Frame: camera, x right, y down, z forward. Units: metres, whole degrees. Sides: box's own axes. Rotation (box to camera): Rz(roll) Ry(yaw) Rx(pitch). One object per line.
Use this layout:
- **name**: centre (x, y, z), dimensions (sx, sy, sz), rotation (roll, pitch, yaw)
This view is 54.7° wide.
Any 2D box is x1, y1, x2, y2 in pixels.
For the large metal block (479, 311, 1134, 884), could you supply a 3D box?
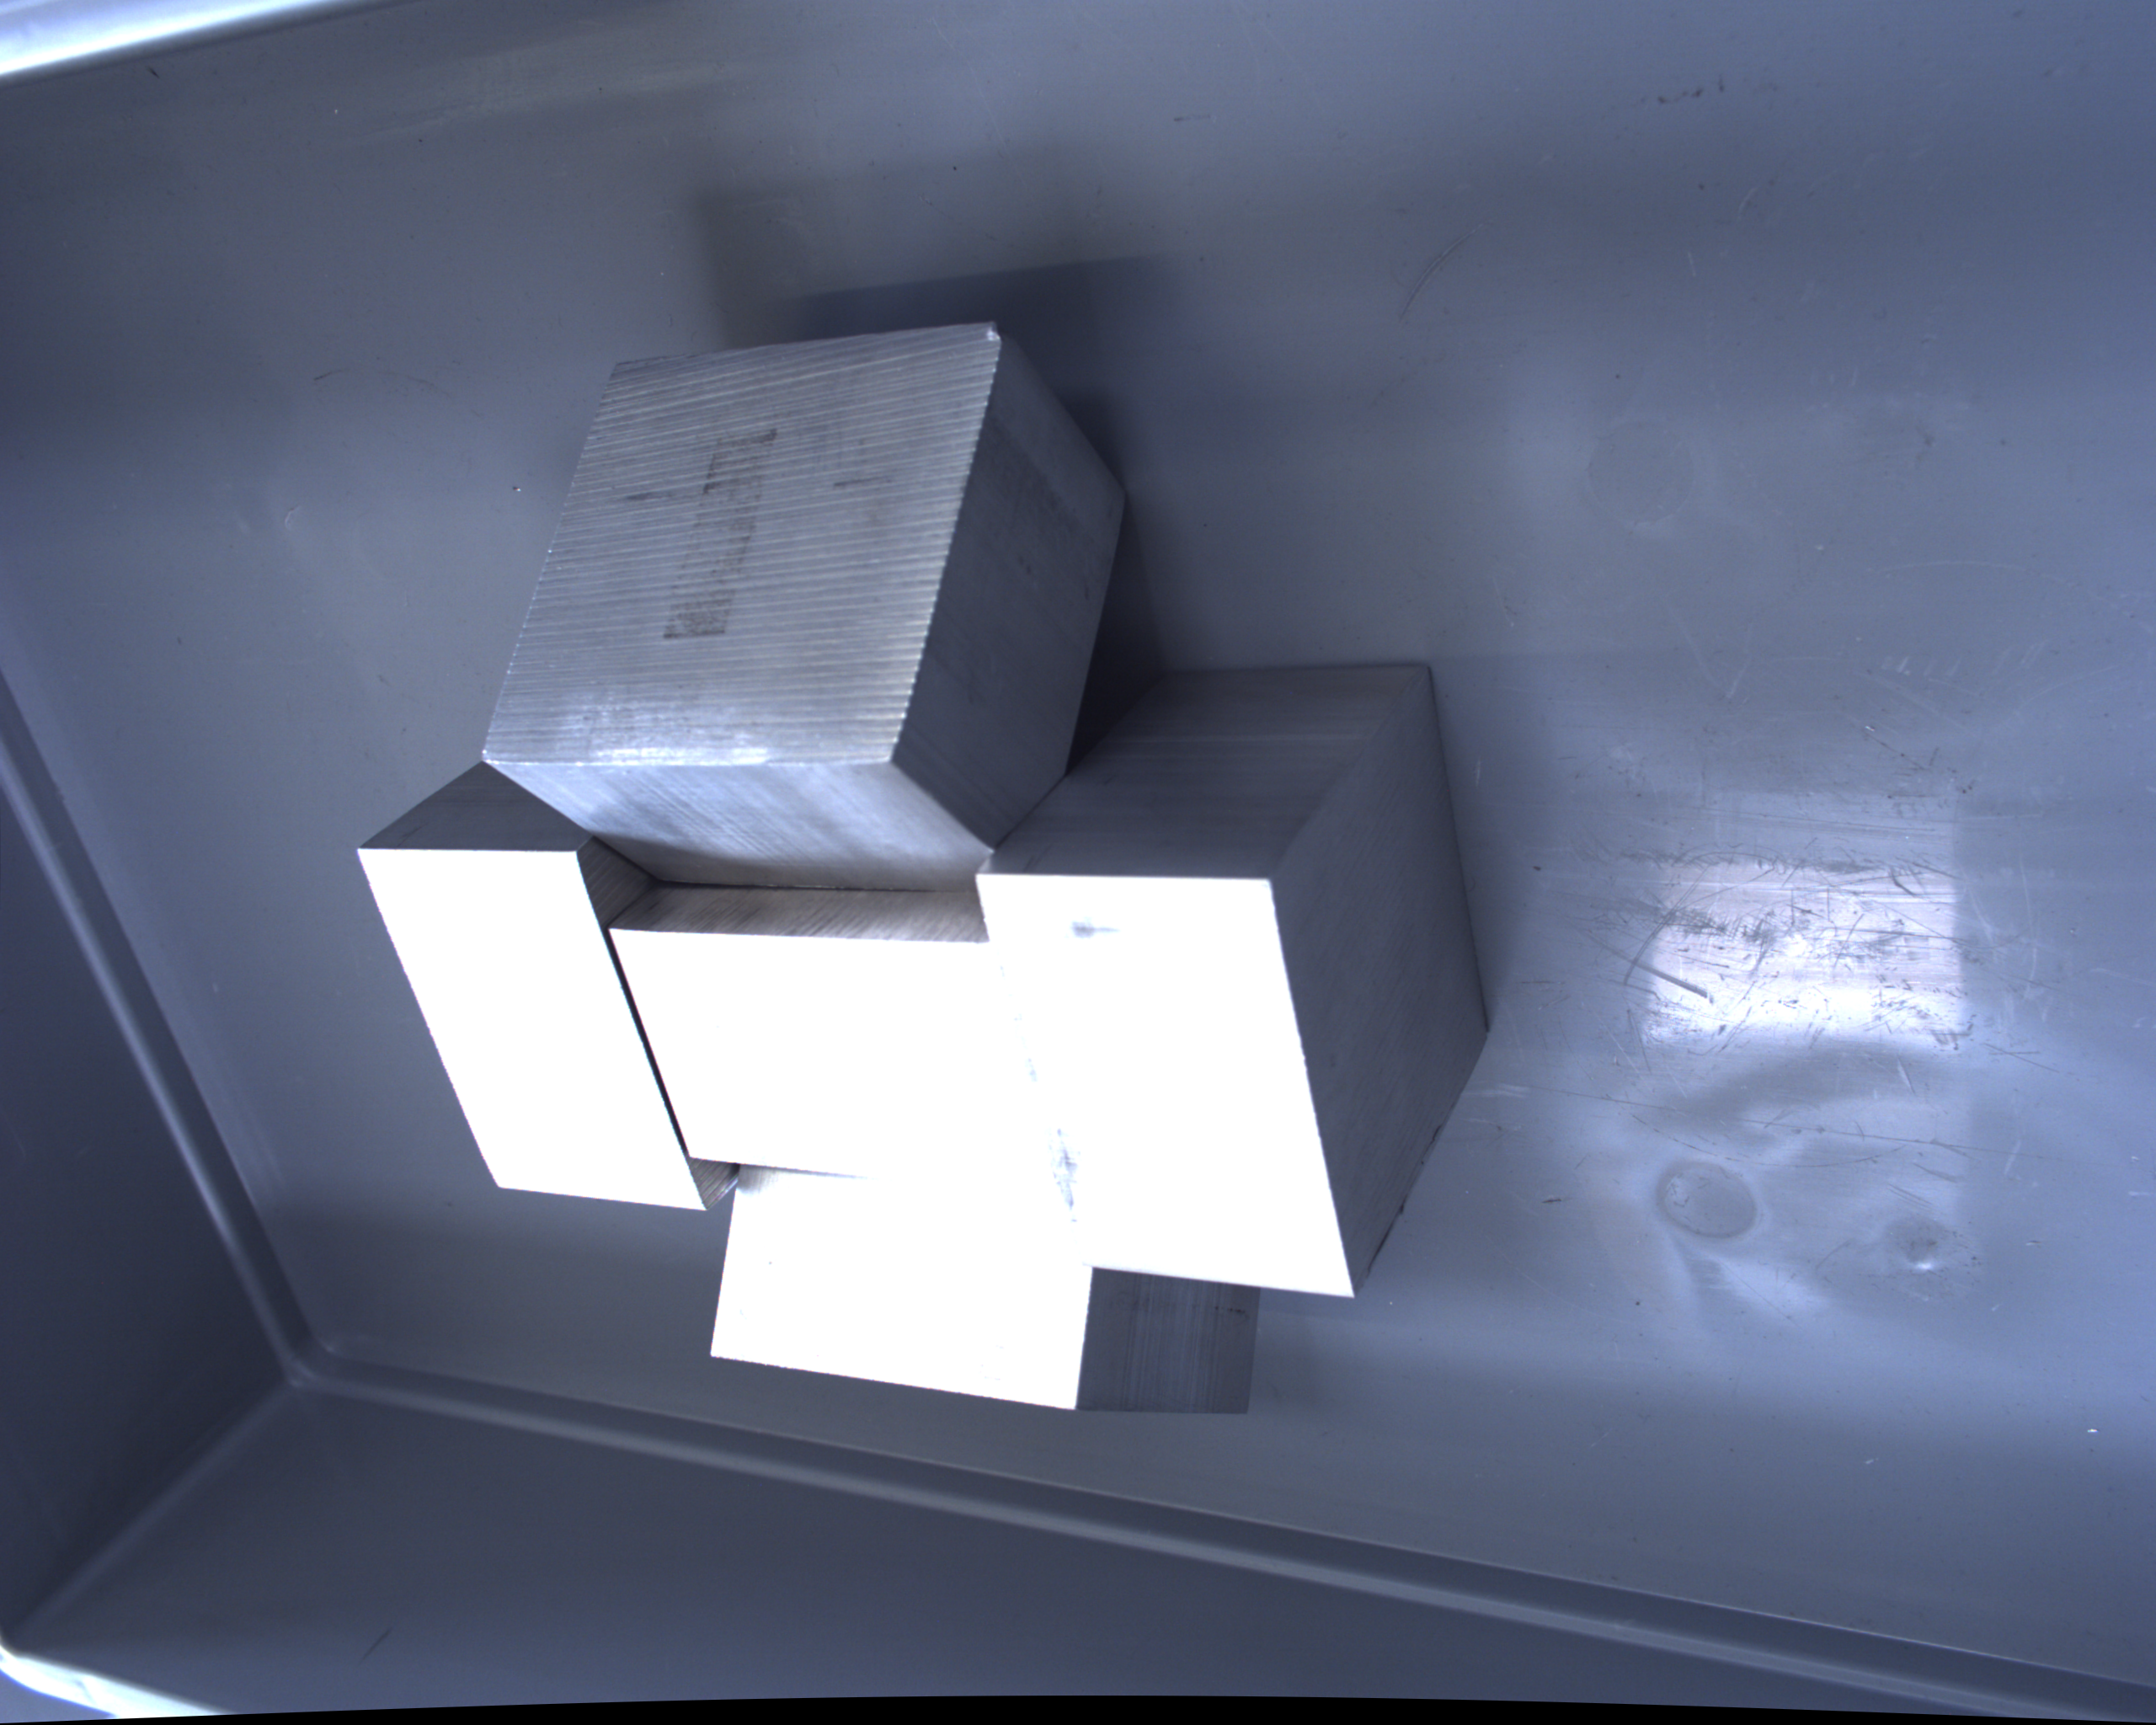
- **large metal block**: centre (-0.044, -0.043, 0.360), dimensions (0.080, 0.080, 0.050), rotation (2, 157, 27)

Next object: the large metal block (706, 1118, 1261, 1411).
- **large metal block**: centre (-0.015, 0.080, 0.420), dimensions (0.080, 0.080, 0.050), rotation (0, 77, 27)

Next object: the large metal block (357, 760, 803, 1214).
- **large metal block**: centre (-0.087, 0.013, 0.426), dimensions (0.050, 0.080, 0.080), rotation (1, 119, 28)

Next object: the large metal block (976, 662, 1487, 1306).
- **large metal block**: centre (0.031, 0.018, 0.366), dimensions (0.050, 0.080, 0.080), rotation (1, 119, 28)

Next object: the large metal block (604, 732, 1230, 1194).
- **large metal block**: centre (-0.027, 0.015, 0.395), dimensions (0.080, 0.080, 0.050), rotation (1, 119, 28)
